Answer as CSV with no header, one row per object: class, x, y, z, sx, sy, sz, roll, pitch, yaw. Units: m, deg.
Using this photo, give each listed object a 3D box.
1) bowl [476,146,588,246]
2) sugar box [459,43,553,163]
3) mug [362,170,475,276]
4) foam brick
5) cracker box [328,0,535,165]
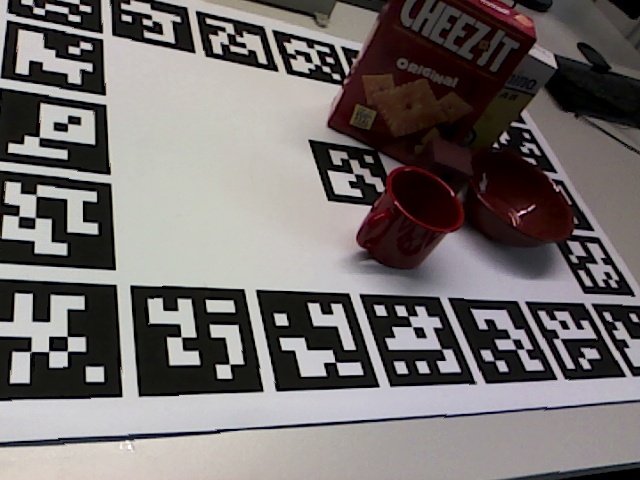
bowl,0.258,-0.046,0.792,0.161,0.055,0.162,16,45,-17
sugar box,0.217,-0.193,0.830,0.092,0.176,0.045,20,44,-12
mug,0.095,-0.015,0.659,0.116,0.081,0.094,-5,46,-31
foam brick,0.140,-0.076,0.757,0.052,0.078,0.051,16,44,-16
cracker box,0.130,-0.200,0.761,0.164,0.214,0.072,27,40,-7
